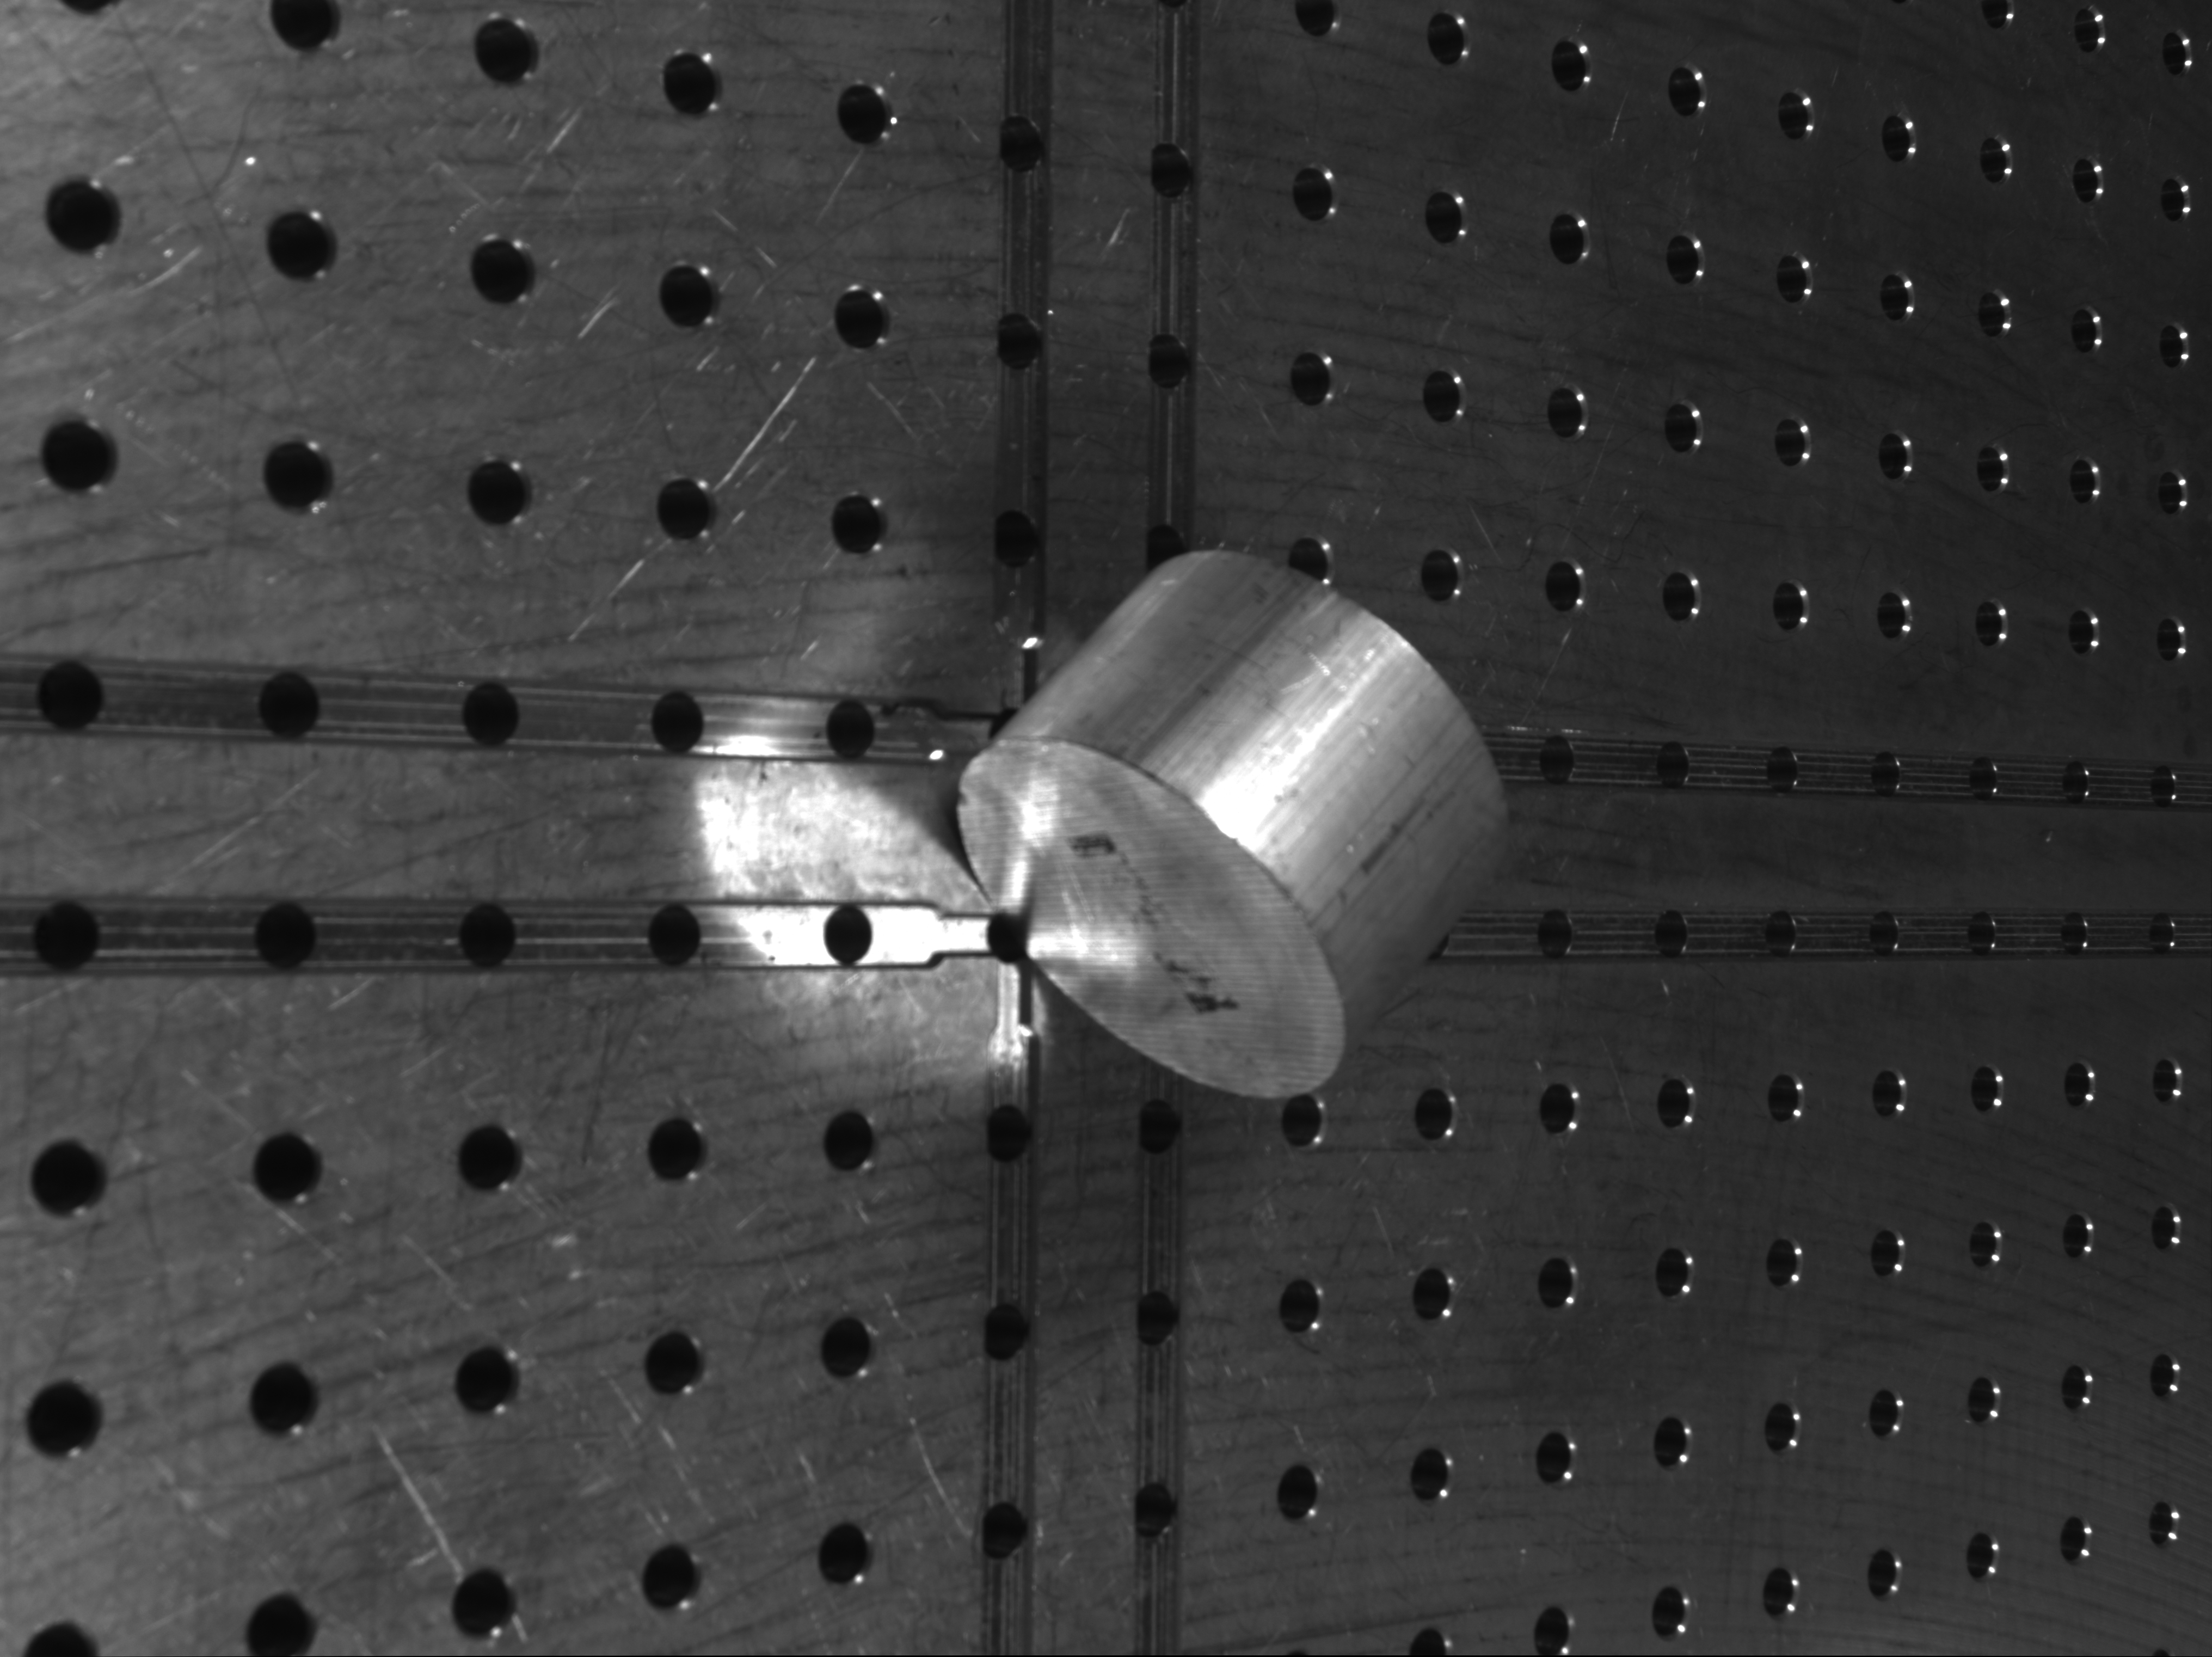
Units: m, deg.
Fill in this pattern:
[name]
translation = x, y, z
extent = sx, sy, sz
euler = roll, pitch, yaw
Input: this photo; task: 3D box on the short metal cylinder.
[short metal cylinder]
translation = 0.025, 0.000, 0.625
extent = 0.050, 0.080, 0.080
euler = -48, 118, -29
